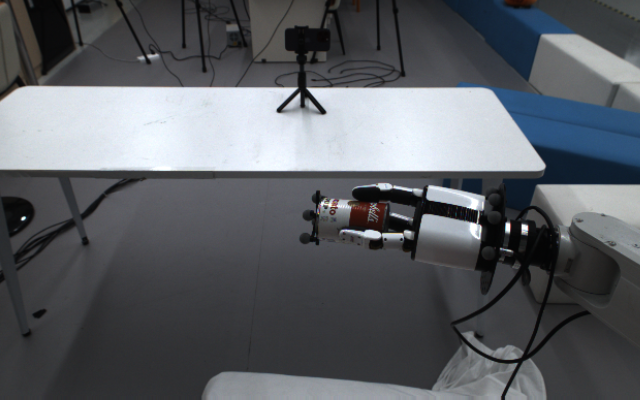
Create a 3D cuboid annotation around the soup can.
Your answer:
[{"bbox_3d":[0.052,0.033,0.728,0.101,0.067,0.067,5,34,13],"label":"soup can"}]
